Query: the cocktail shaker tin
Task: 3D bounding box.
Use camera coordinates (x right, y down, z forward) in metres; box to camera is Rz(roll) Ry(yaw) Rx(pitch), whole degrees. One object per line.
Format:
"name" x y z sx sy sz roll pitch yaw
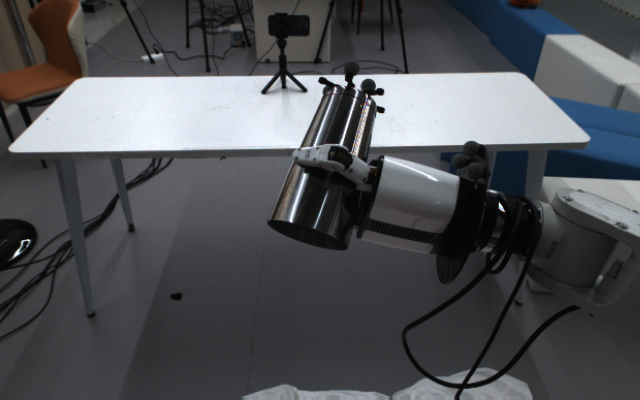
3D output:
"cocktail shaker tin" 0.011 -0.038 0.547 0.093 0.093 0.170 14 74 16
